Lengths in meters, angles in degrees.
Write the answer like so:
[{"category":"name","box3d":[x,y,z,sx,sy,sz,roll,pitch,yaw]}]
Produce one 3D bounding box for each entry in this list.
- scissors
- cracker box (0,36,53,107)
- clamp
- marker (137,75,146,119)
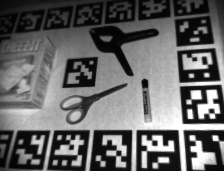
[{"category":"scissors","box3d":[-0.060,0.029,0.600,0.203,0.016,0.087,-28,61,-3]},{"category":"cracker box","box3d":[-0.287,-0.044,0.660,0.163,0.072,0.213,-1,65,13]},{"category":"clamp","box3d":[0.001,-0.142,0.670,0.200,0.037,0.166,28,73,22]},{"category":"marker","box3d":[0.077,0.027,0.567,0.019,0.020,0.120,-6,64,12]}]
